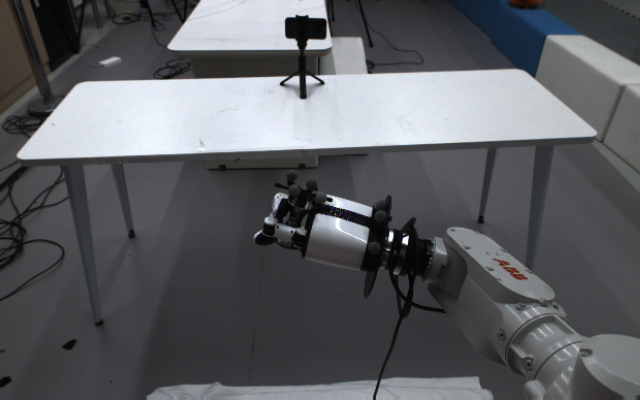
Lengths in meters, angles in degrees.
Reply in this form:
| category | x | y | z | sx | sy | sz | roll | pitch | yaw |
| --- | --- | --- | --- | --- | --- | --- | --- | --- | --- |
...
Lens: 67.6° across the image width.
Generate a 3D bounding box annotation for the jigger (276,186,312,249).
| category | x | y | z | sx | sy | sz | roll | pitch | yaw |
| --- | --- | --- | --- | --- | --- | --- | --- | --- | --- |
| jigger | -0.038 | 0.035 | 0.728 | 0.043 | 0.071 | 0.043 | 18 | 17 | -6 |
